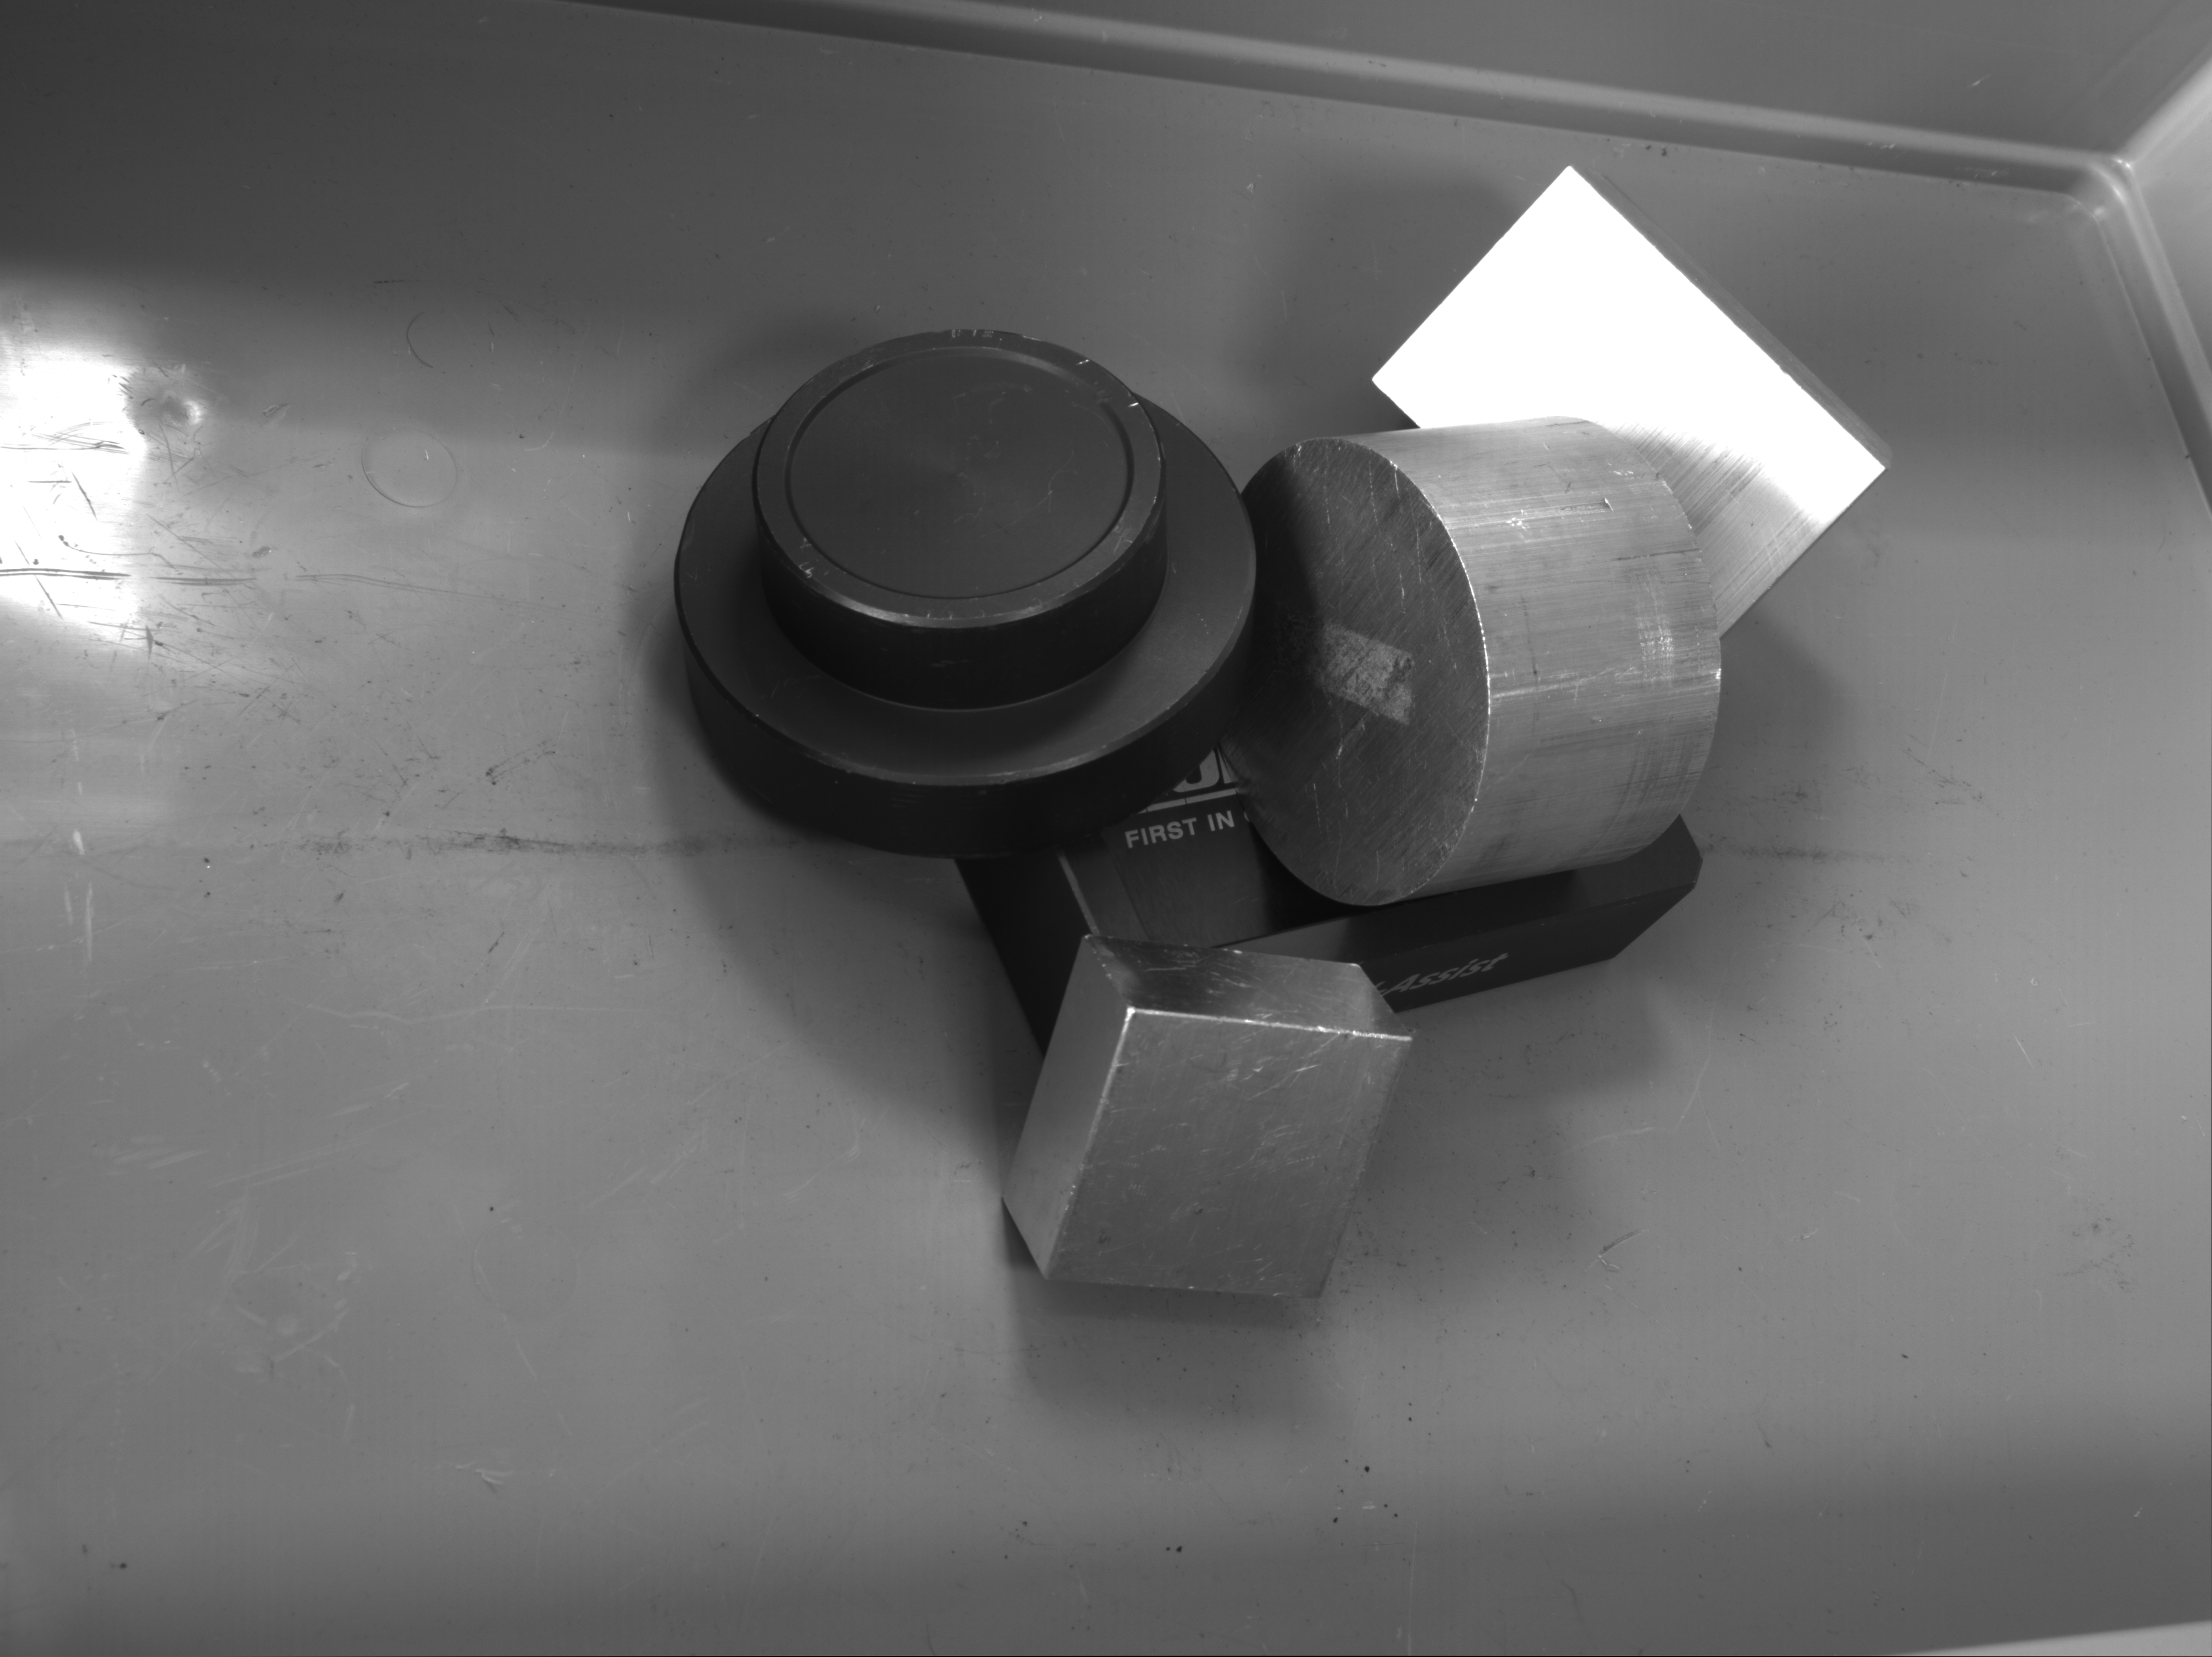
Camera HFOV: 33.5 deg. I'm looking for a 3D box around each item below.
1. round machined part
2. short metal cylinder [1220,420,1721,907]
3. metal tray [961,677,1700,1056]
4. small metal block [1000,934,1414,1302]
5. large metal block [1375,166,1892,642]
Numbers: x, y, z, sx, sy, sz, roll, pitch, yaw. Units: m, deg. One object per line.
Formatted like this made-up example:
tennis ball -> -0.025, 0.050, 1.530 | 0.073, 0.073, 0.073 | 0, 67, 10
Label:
round machined part -> -0.024, -0.045, 0.618 | 0.098, 0.042, 0.098 | -1, 51, 1
short metal cylinder -> 0.061, -0.029, 0.637 | 0.050, 0.080, 0.080 | -9, 66, -33
metal tray -> 0.034, -0.010, 0.661 | 0.130, 0.030, 0.090 | -12, 68, -33
small metal block -> 0.016, 0.048, 0.598 | 0.050, 0.050, 0.025 | 7, 24, -23
large metal block -> 0.102, -0.079, 0.700 | 0.080, 0.050, 0.080 | 44, 15, 2
